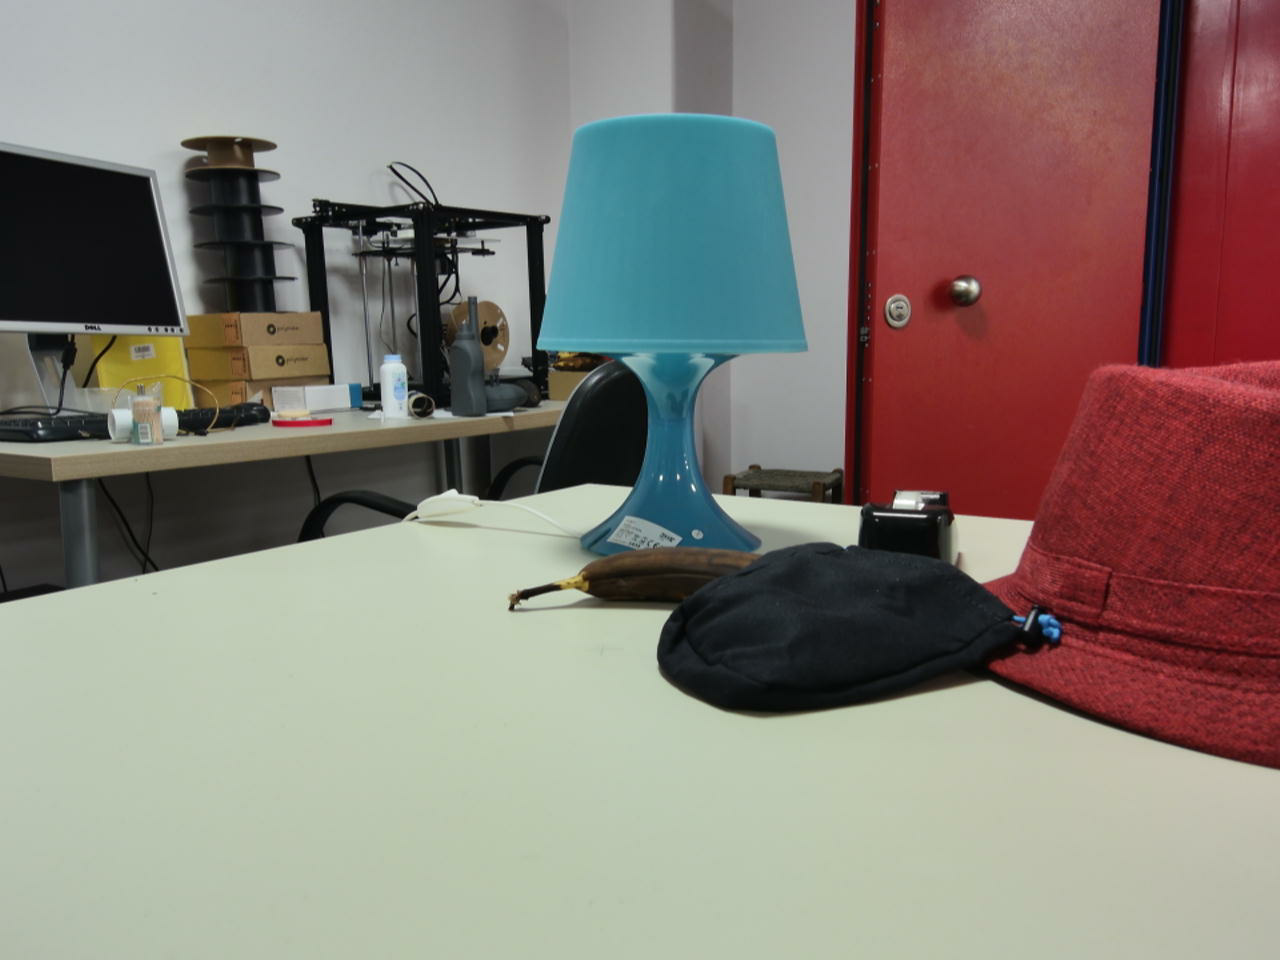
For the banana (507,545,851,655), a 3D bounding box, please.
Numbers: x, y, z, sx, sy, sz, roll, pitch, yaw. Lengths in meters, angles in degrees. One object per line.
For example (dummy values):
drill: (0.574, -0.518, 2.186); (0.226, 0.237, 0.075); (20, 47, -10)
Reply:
banana: (0.030, 0.056, 0.533); (0.188, 0.033, 0.091); (5, 7, 37)
